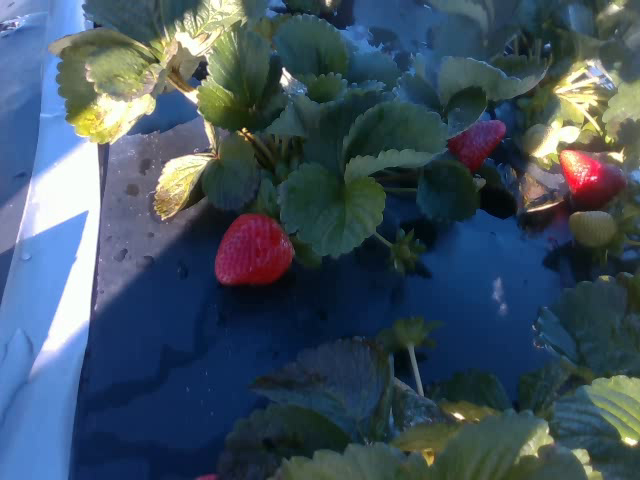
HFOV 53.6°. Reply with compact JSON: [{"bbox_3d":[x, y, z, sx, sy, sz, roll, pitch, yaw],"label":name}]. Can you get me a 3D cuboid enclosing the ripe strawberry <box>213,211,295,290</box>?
[{"bbox_3d":[-0.039,0.008,0.337,0.045,0.042,0.059,0,38,42],"label":"ripe strawberry"}]
